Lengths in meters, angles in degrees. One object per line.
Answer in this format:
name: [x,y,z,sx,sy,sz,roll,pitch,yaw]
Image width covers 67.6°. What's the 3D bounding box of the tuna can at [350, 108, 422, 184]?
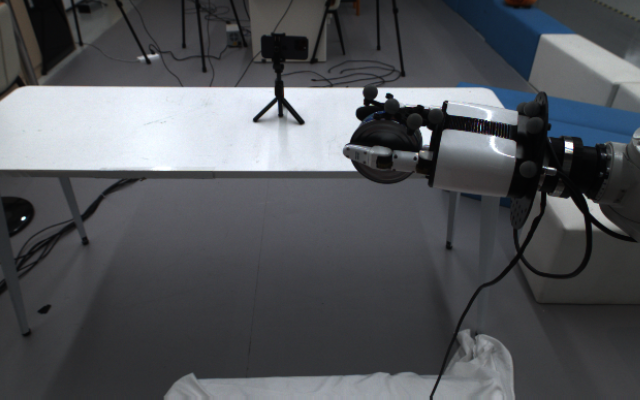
tuna can: [0.082,-0.067,0.590,0.085,0.085,0.034,12,33,14]
